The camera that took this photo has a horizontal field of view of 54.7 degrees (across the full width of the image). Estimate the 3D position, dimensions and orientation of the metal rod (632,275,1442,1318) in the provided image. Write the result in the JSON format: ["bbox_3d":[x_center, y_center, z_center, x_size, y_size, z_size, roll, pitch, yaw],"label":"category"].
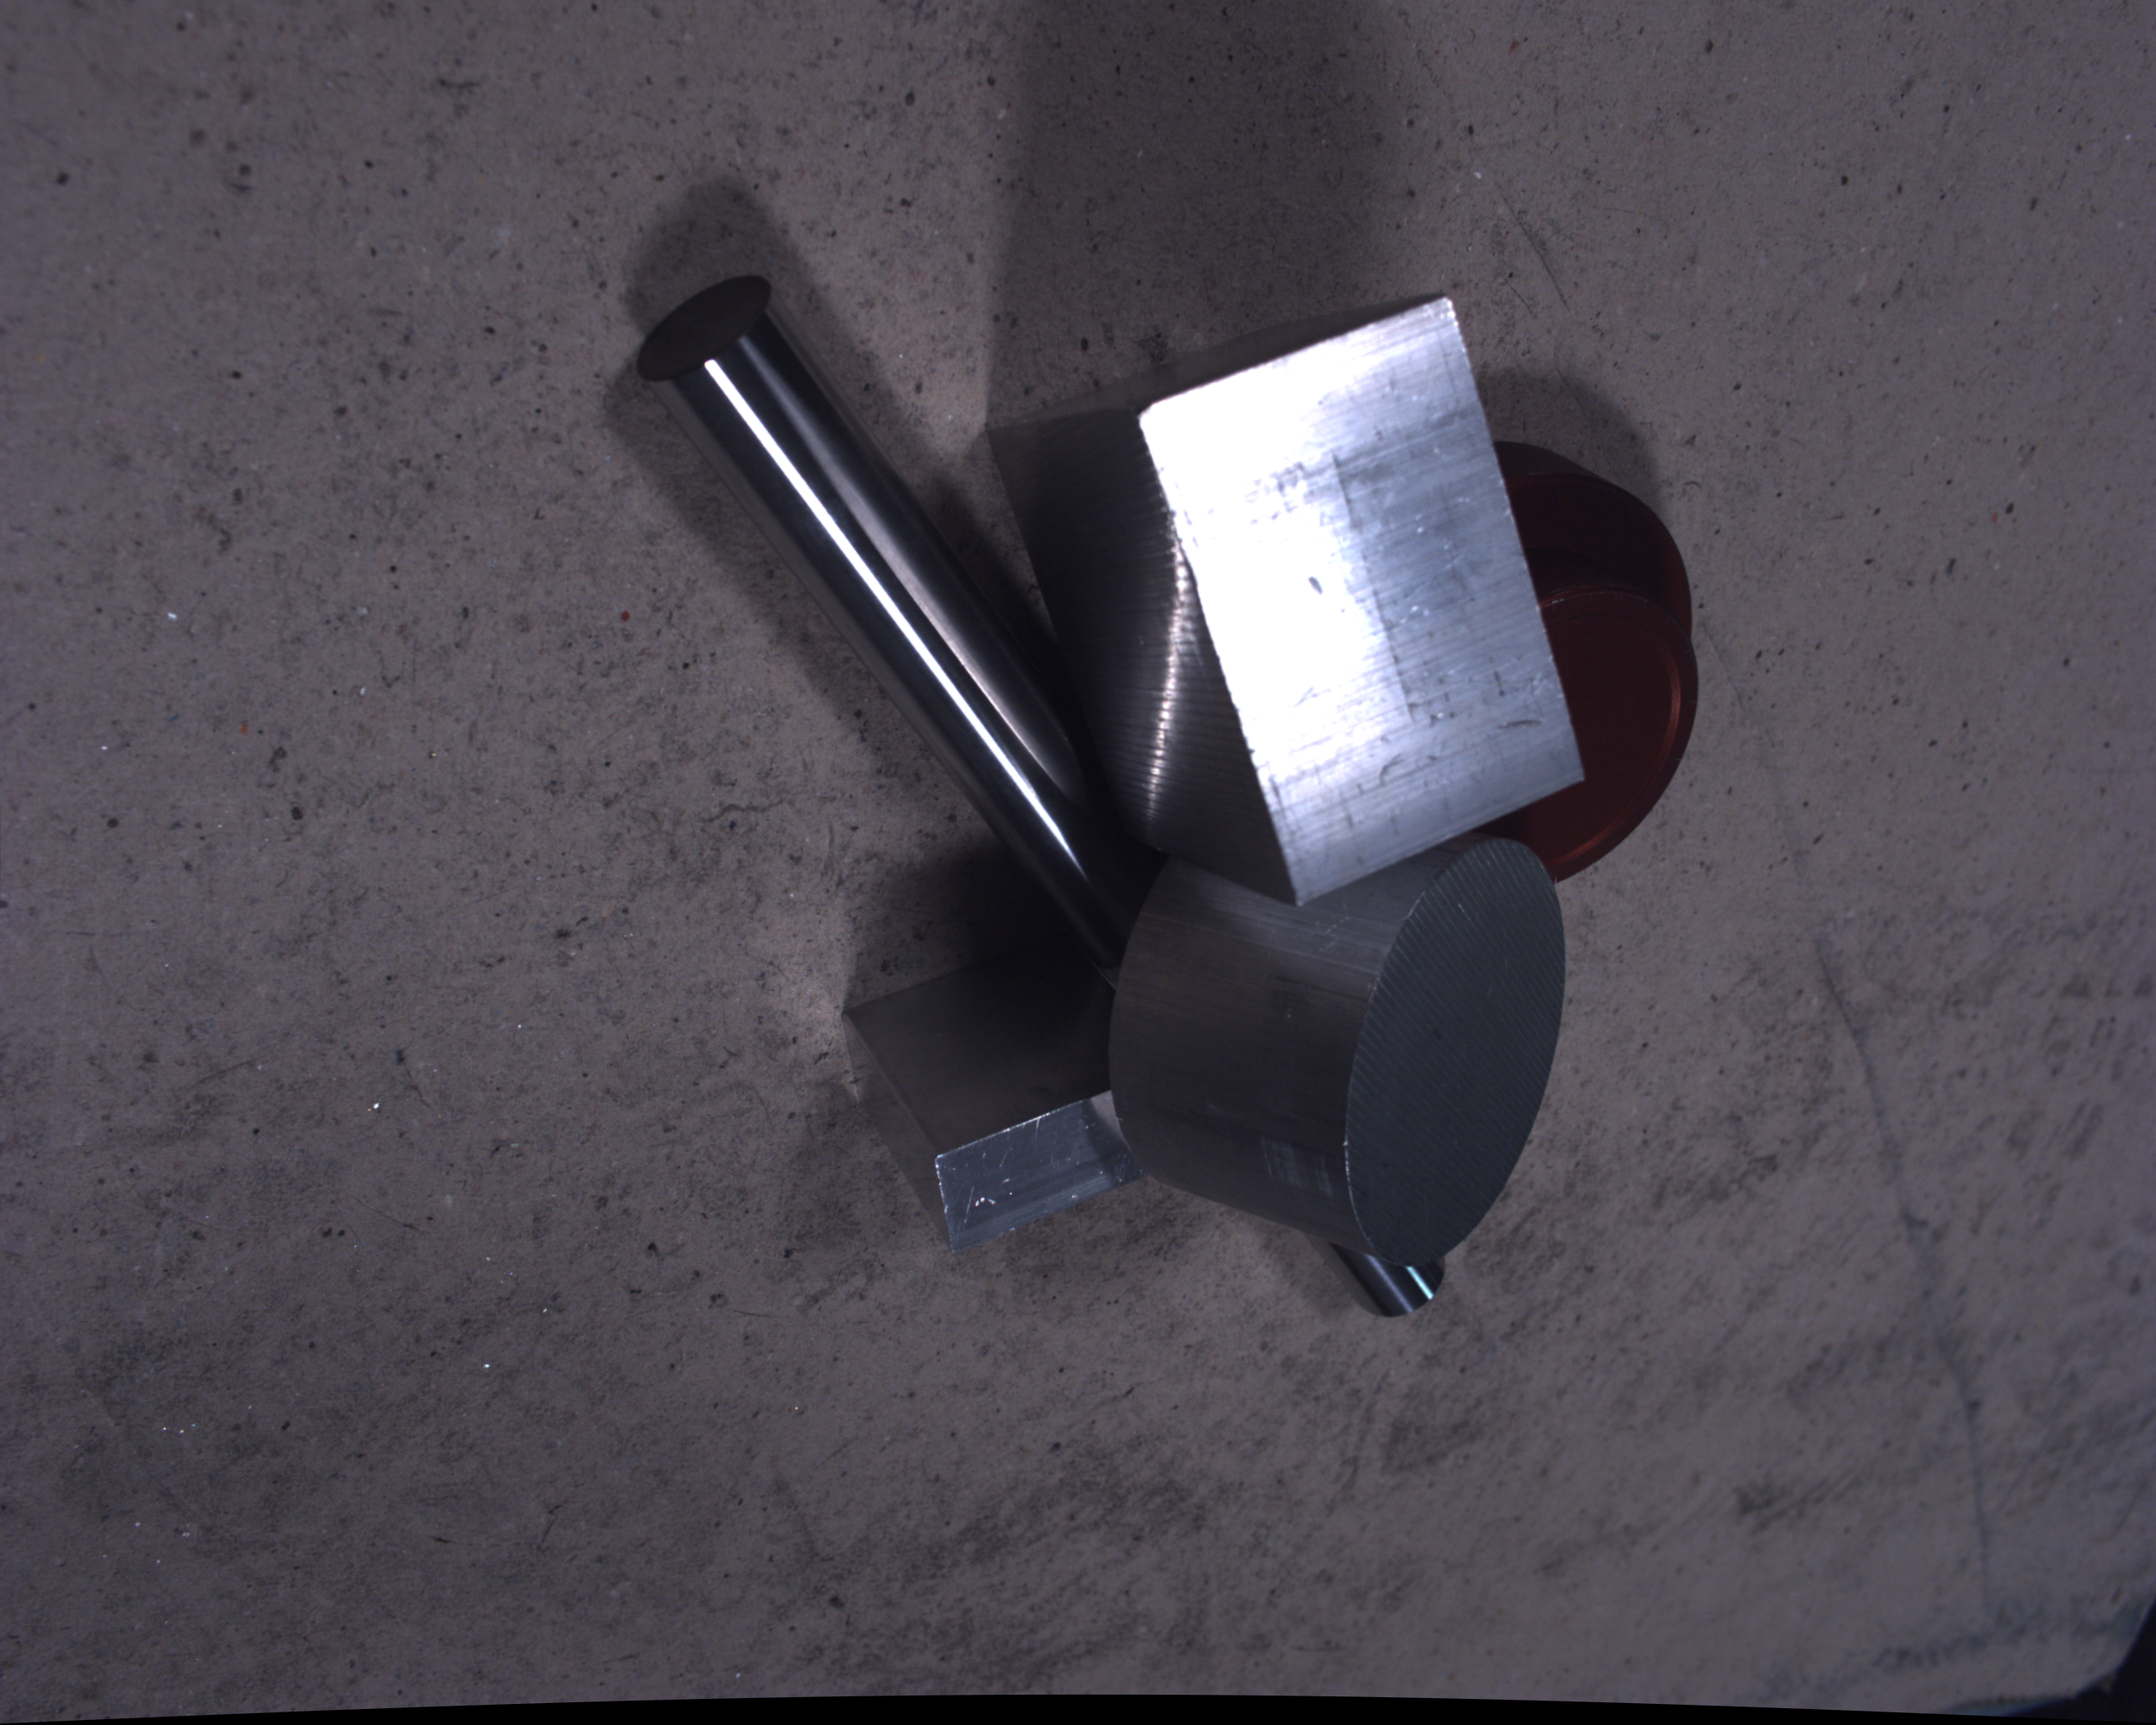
[{"bbox_3d":[0.010,0.009,0.421,0.025,0.025,0.300,-39,130,-3],"label":"metal rod"}]

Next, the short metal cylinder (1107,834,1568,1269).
[{"bbox_3d":[0.050,0.030,0.392,0.081,0.050,0.079,-19,115,-48],"label":"short metal cylinder"}]

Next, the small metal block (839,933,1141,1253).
[{"bbox_3d":[-0.013,0.044,0.414,0.050,0.050,0.025,-20,126,-18],"label":"small metal block"}]

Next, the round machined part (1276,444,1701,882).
[{"bbox_3d":[0.086,-0.032,0.426,0.099,0.042,0.097,-14,125,-21],"label":"round machined part"}]

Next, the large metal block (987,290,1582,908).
[{"bbox_3d":[0.032,-0.045,0.350,0.050,0.080,0.080,-23,105,-13],"label":"large metal block"}]
